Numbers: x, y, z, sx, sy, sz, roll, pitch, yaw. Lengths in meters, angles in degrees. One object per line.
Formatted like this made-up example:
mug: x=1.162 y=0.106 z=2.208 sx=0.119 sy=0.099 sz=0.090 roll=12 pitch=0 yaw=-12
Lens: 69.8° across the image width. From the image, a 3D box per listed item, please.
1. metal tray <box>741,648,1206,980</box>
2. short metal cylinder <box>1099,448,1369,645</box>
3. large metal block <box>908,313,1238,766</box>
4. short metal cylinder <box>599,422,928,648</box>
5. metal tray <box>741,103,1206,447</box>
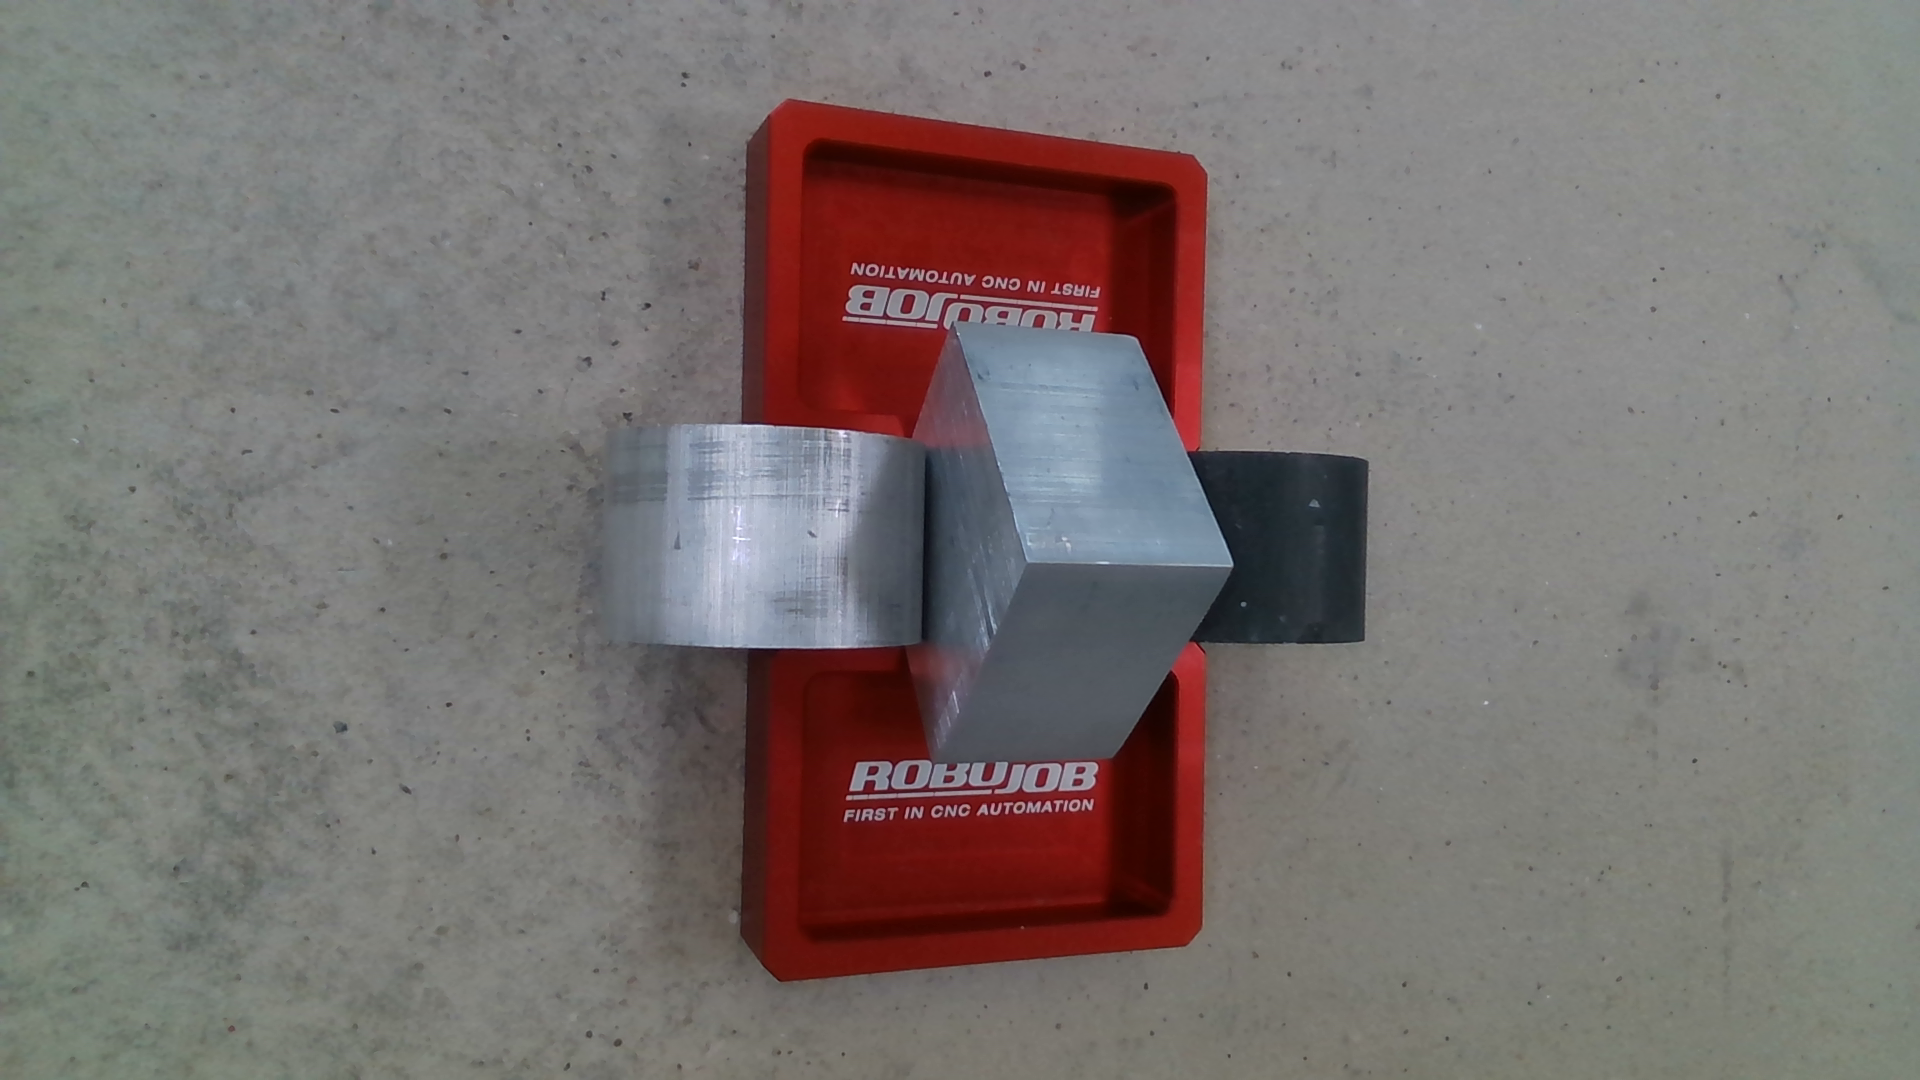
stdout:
metal tray: x=0.005 y=0.072 z=0.394 sx=0.130 sy=0.030 sz=0.090 roll=2 pitch=90 yaw=-20
short metal cylinder: x=0.074 y=0.002 z=0.392 sx=0.080 sy=0.080 sz=0.050 roll=2 pitch=89 yaw=-20
large metal block: x=0.019 y=0.001 z=0.350 sx=0.050 sy=0.080 sz=0.080 roll=1 pitch=49 yaw=-20
short metal cylinder: x=-0.049 y=-0.001 z=0.347 sx=0.080 sy=0.080 sz=0.050 roll=2 pitch=89 yaw=-20
metal tray: x=0.005 y=-0.068 z=0.394 sx=0.130 sy=0.030 sz=0.090 roll=2 pitch=90 yaw=-20
